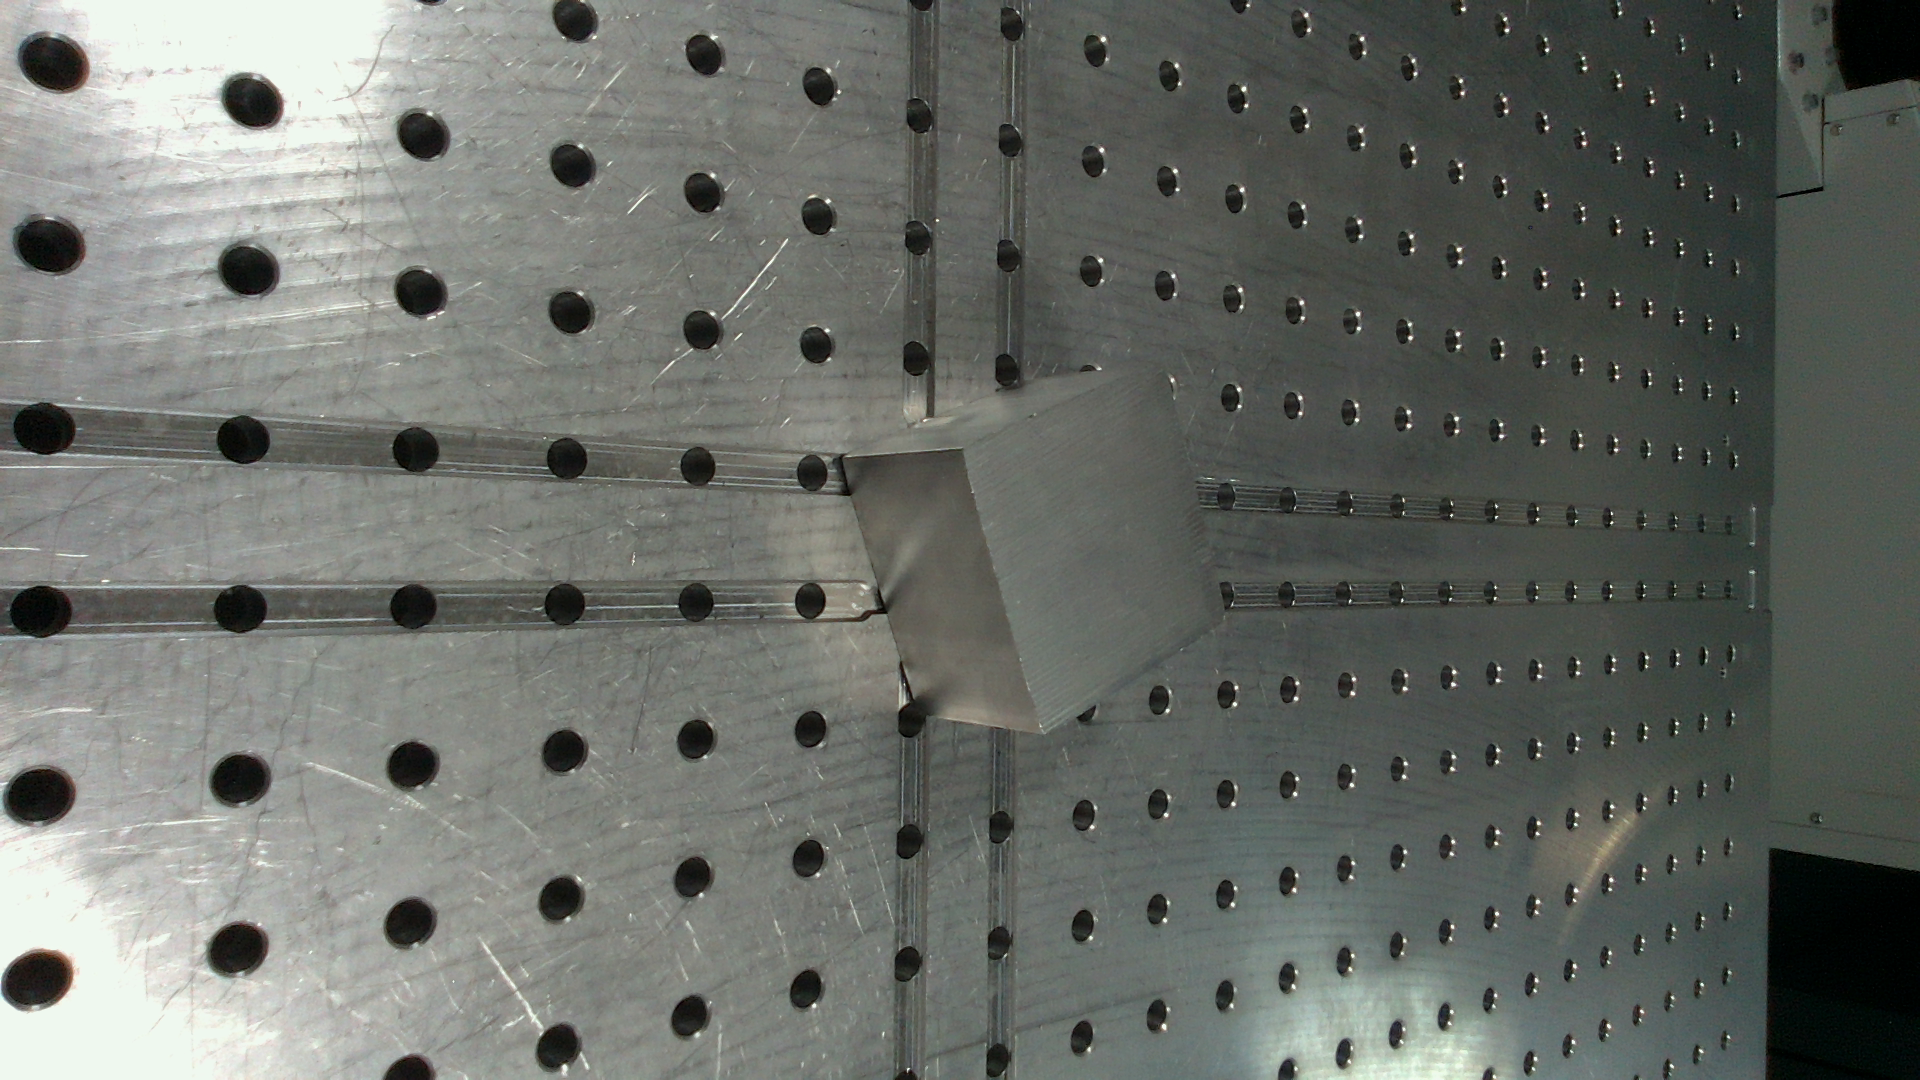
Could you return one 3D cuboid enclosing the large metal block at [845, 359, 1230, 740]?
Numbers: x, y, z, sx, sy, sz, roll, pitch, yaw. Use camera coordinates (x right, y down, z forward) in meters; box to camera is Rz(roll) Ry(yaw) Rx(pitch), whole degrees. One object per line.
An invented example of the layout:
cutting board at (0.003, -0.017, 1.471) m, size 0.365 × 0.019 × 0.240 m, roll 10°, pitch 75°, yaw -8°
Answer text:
large metal block at (0.024, 0.000, 0.392) m, size 0.080 × 0.050 × 0.080 m, roll -26°, pitch 107°, yaw -37°
